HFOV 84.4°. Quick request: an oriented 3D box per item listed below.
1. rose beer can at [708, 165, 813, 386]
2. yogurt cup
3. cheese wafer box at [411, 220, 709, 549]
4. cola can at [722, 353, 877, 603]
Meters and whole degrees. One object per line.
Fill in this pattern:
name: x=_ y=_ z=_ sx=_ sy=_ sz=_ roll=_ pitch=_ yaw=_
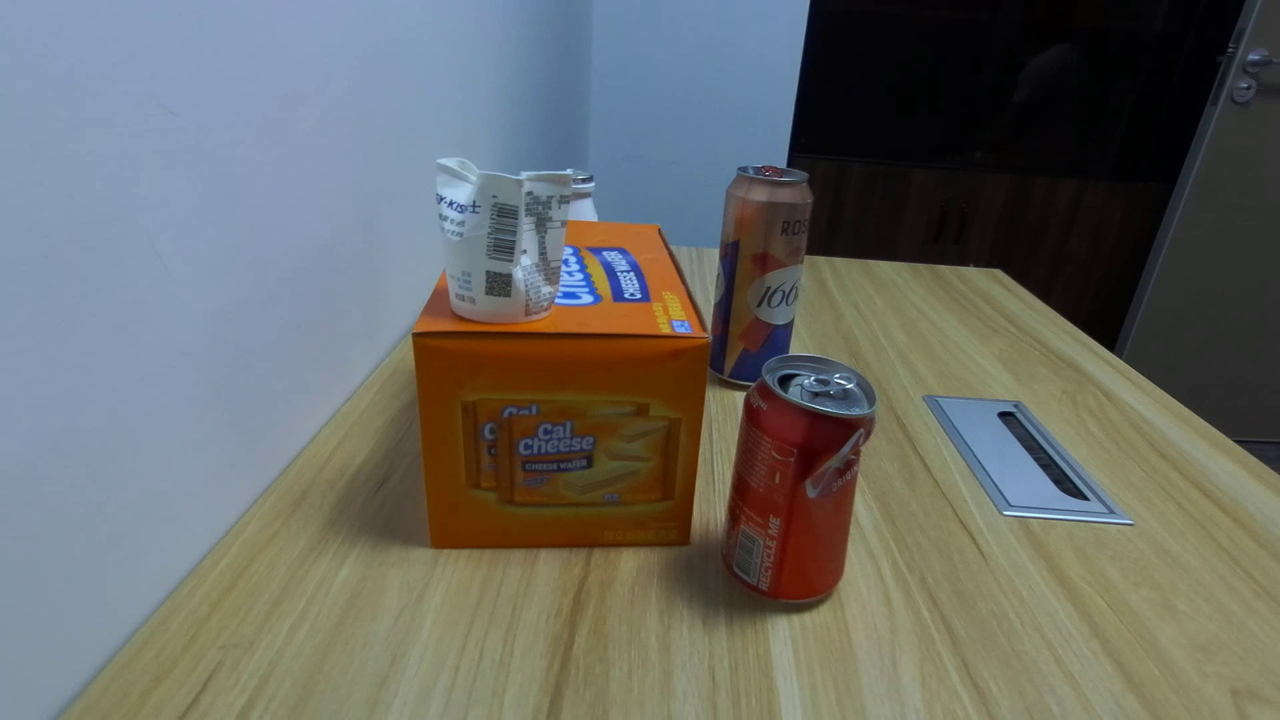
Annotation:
rose beer can: x=0.095 y=-0.064 z=0.565 sx=0.069 sy=0.169 sz=0.068 roll=4 pitch=22 yaw=-1
yogurt cup: x=-0.068 y=-0.059 z=0.348 sx=0.054 sy=0.072 sz=0.055 roll=23 pitch=32 yaw=36
cheese wafer box: x=-0.048 y=0.000 z=0.457 sx=0.148 sy=0.129 sz=0.221 roll=1 pitch=25 yaw=-6
cola can: x=0.079 y=0.059 z=0.358 sx=0.072 sy=0.117 sz=0.065 roll=-20 pitch=33 yaw=-40
